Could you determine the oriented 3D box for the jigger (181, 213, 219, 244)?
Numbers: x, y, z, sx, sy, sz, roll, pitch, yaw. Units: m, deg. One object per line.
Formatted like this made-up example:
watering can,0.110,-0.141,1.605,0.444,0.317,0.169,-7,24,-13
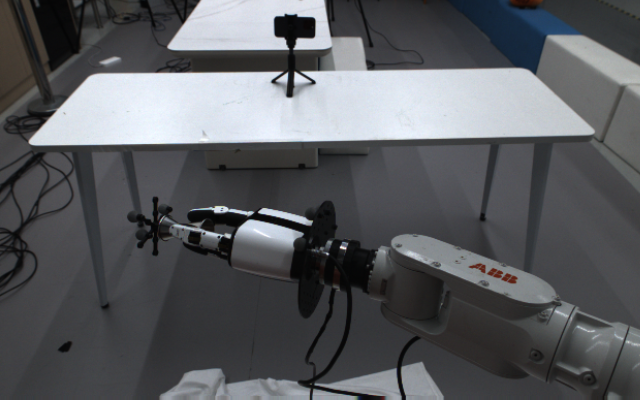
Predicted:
jigger,-0.186,0.040,0.701,0.071,0.043,0.043,5,34,15
